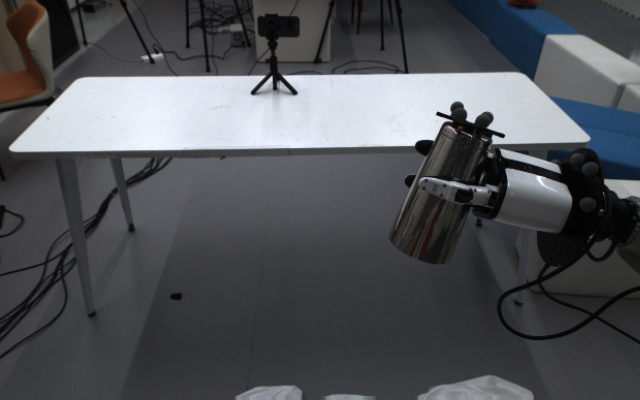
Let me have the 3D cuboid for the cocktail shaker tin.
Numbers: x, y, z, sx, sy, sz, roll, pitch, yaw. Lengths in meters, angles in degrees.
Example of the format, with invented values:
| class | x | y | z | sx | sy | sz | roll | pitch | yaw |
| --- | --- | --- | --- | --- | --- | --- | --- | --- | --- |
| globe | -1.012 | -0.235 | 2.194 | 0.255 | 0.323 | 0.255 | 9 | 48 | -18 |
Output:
| class | x | y | z | sx | sy | sz | roll | pitch | yaw |
| --- | --- | --- | --- | --- | --- | --- | --- | --- | --- |
| cocktail shaker tin | 0.164 | -0.013 | 0.643 | 0.093 | 0.170 | 0.093 | 16 | 21 | -6 |
